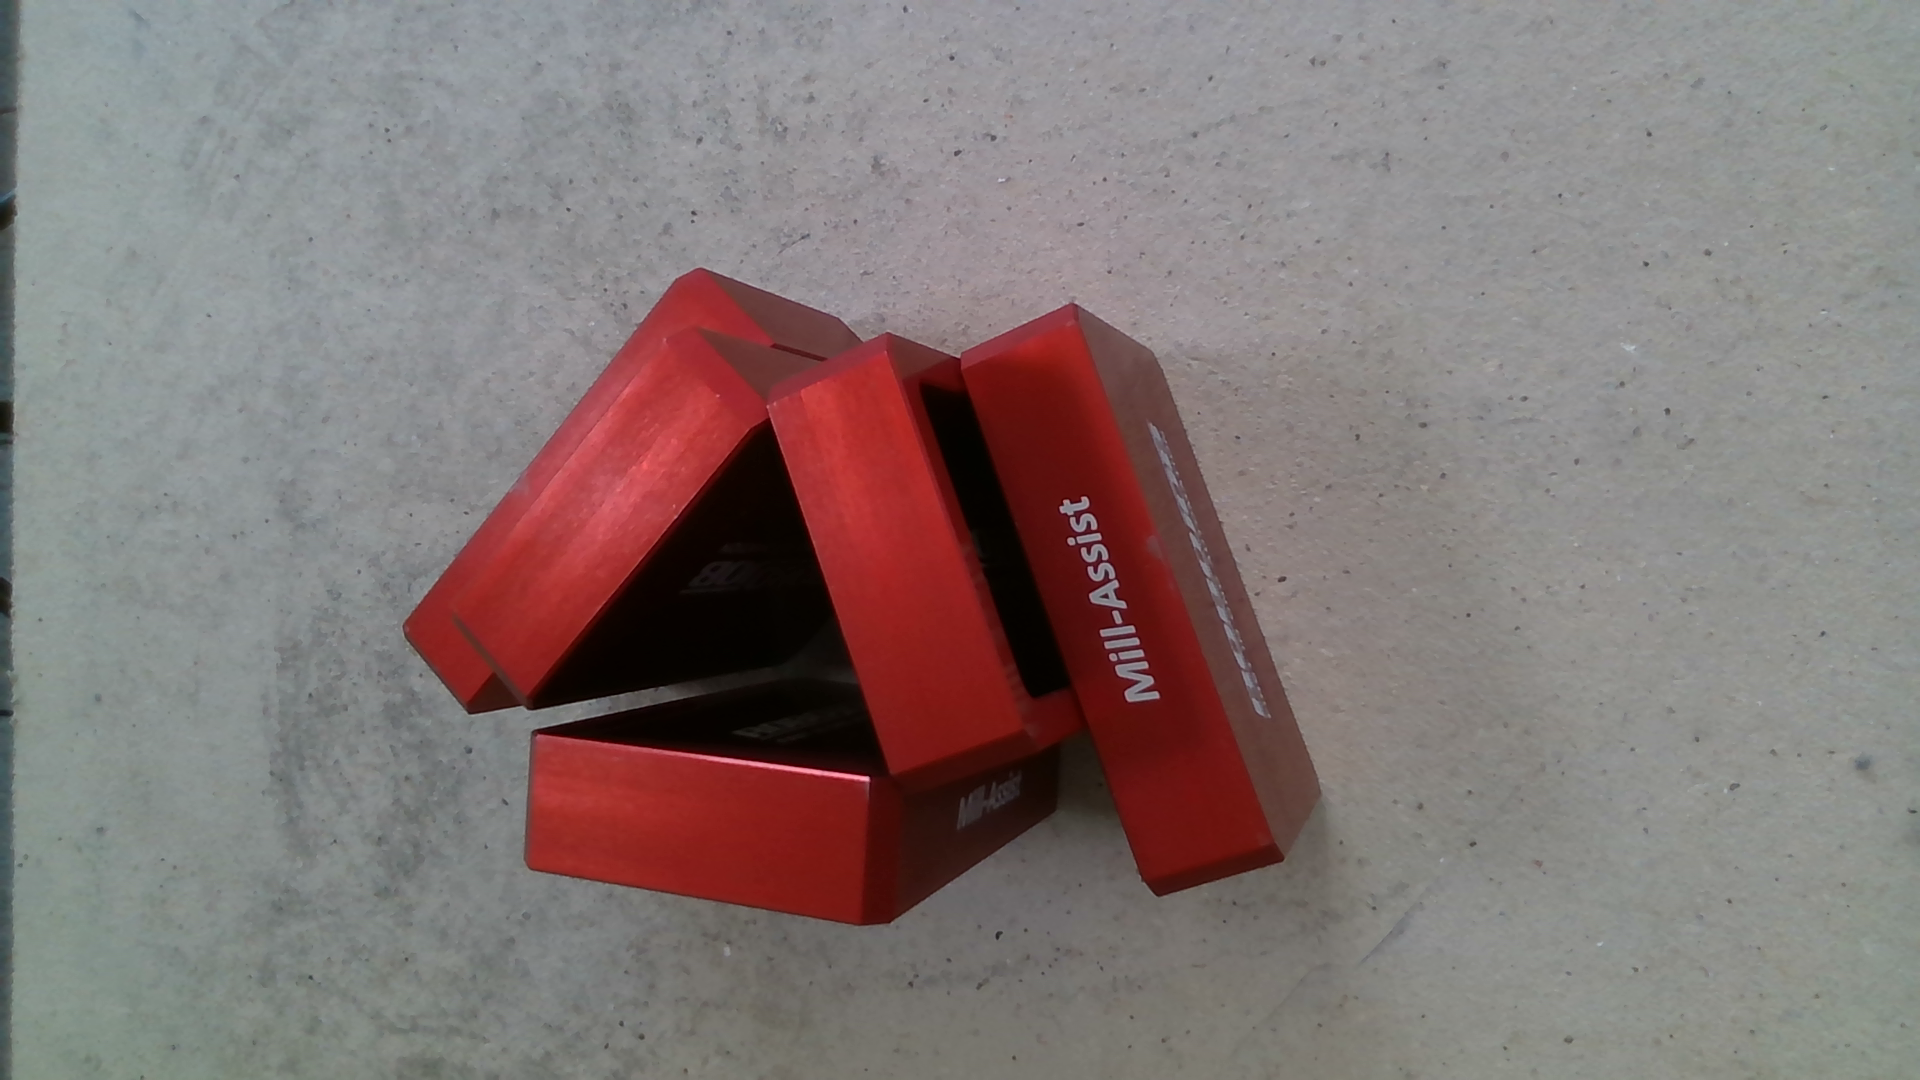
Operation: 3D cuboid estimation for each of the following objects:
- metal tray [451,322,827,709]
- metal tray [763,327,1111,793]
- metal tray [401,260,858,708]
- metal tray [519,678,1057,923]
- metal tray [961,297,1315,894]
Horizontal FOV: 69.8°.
[{"bbox_3d":[-0.057,-0.005,0.359,0.030,0.130,0.090,45,104,14],"label":"metal tray"},{"bbox_3d":[0.008,0.004,0.334,0.030,0.130,0.090,-22,83,19],"label":"metal tray"},{"bbox_3d":[-0.084,-0.012,0.389,0.030,0.090,0.130,46,105,15],"label":"metal tray"},{"bbox_3d":[-0.036,0.059,0.351,0.090,0.130,0.030,5,92,20],"label":"metal tray"},{"bbox_3d":[0.048,0.012,0.341,0.030,0.090,0.130,-21,83,19],"label":"metal tray"}]
